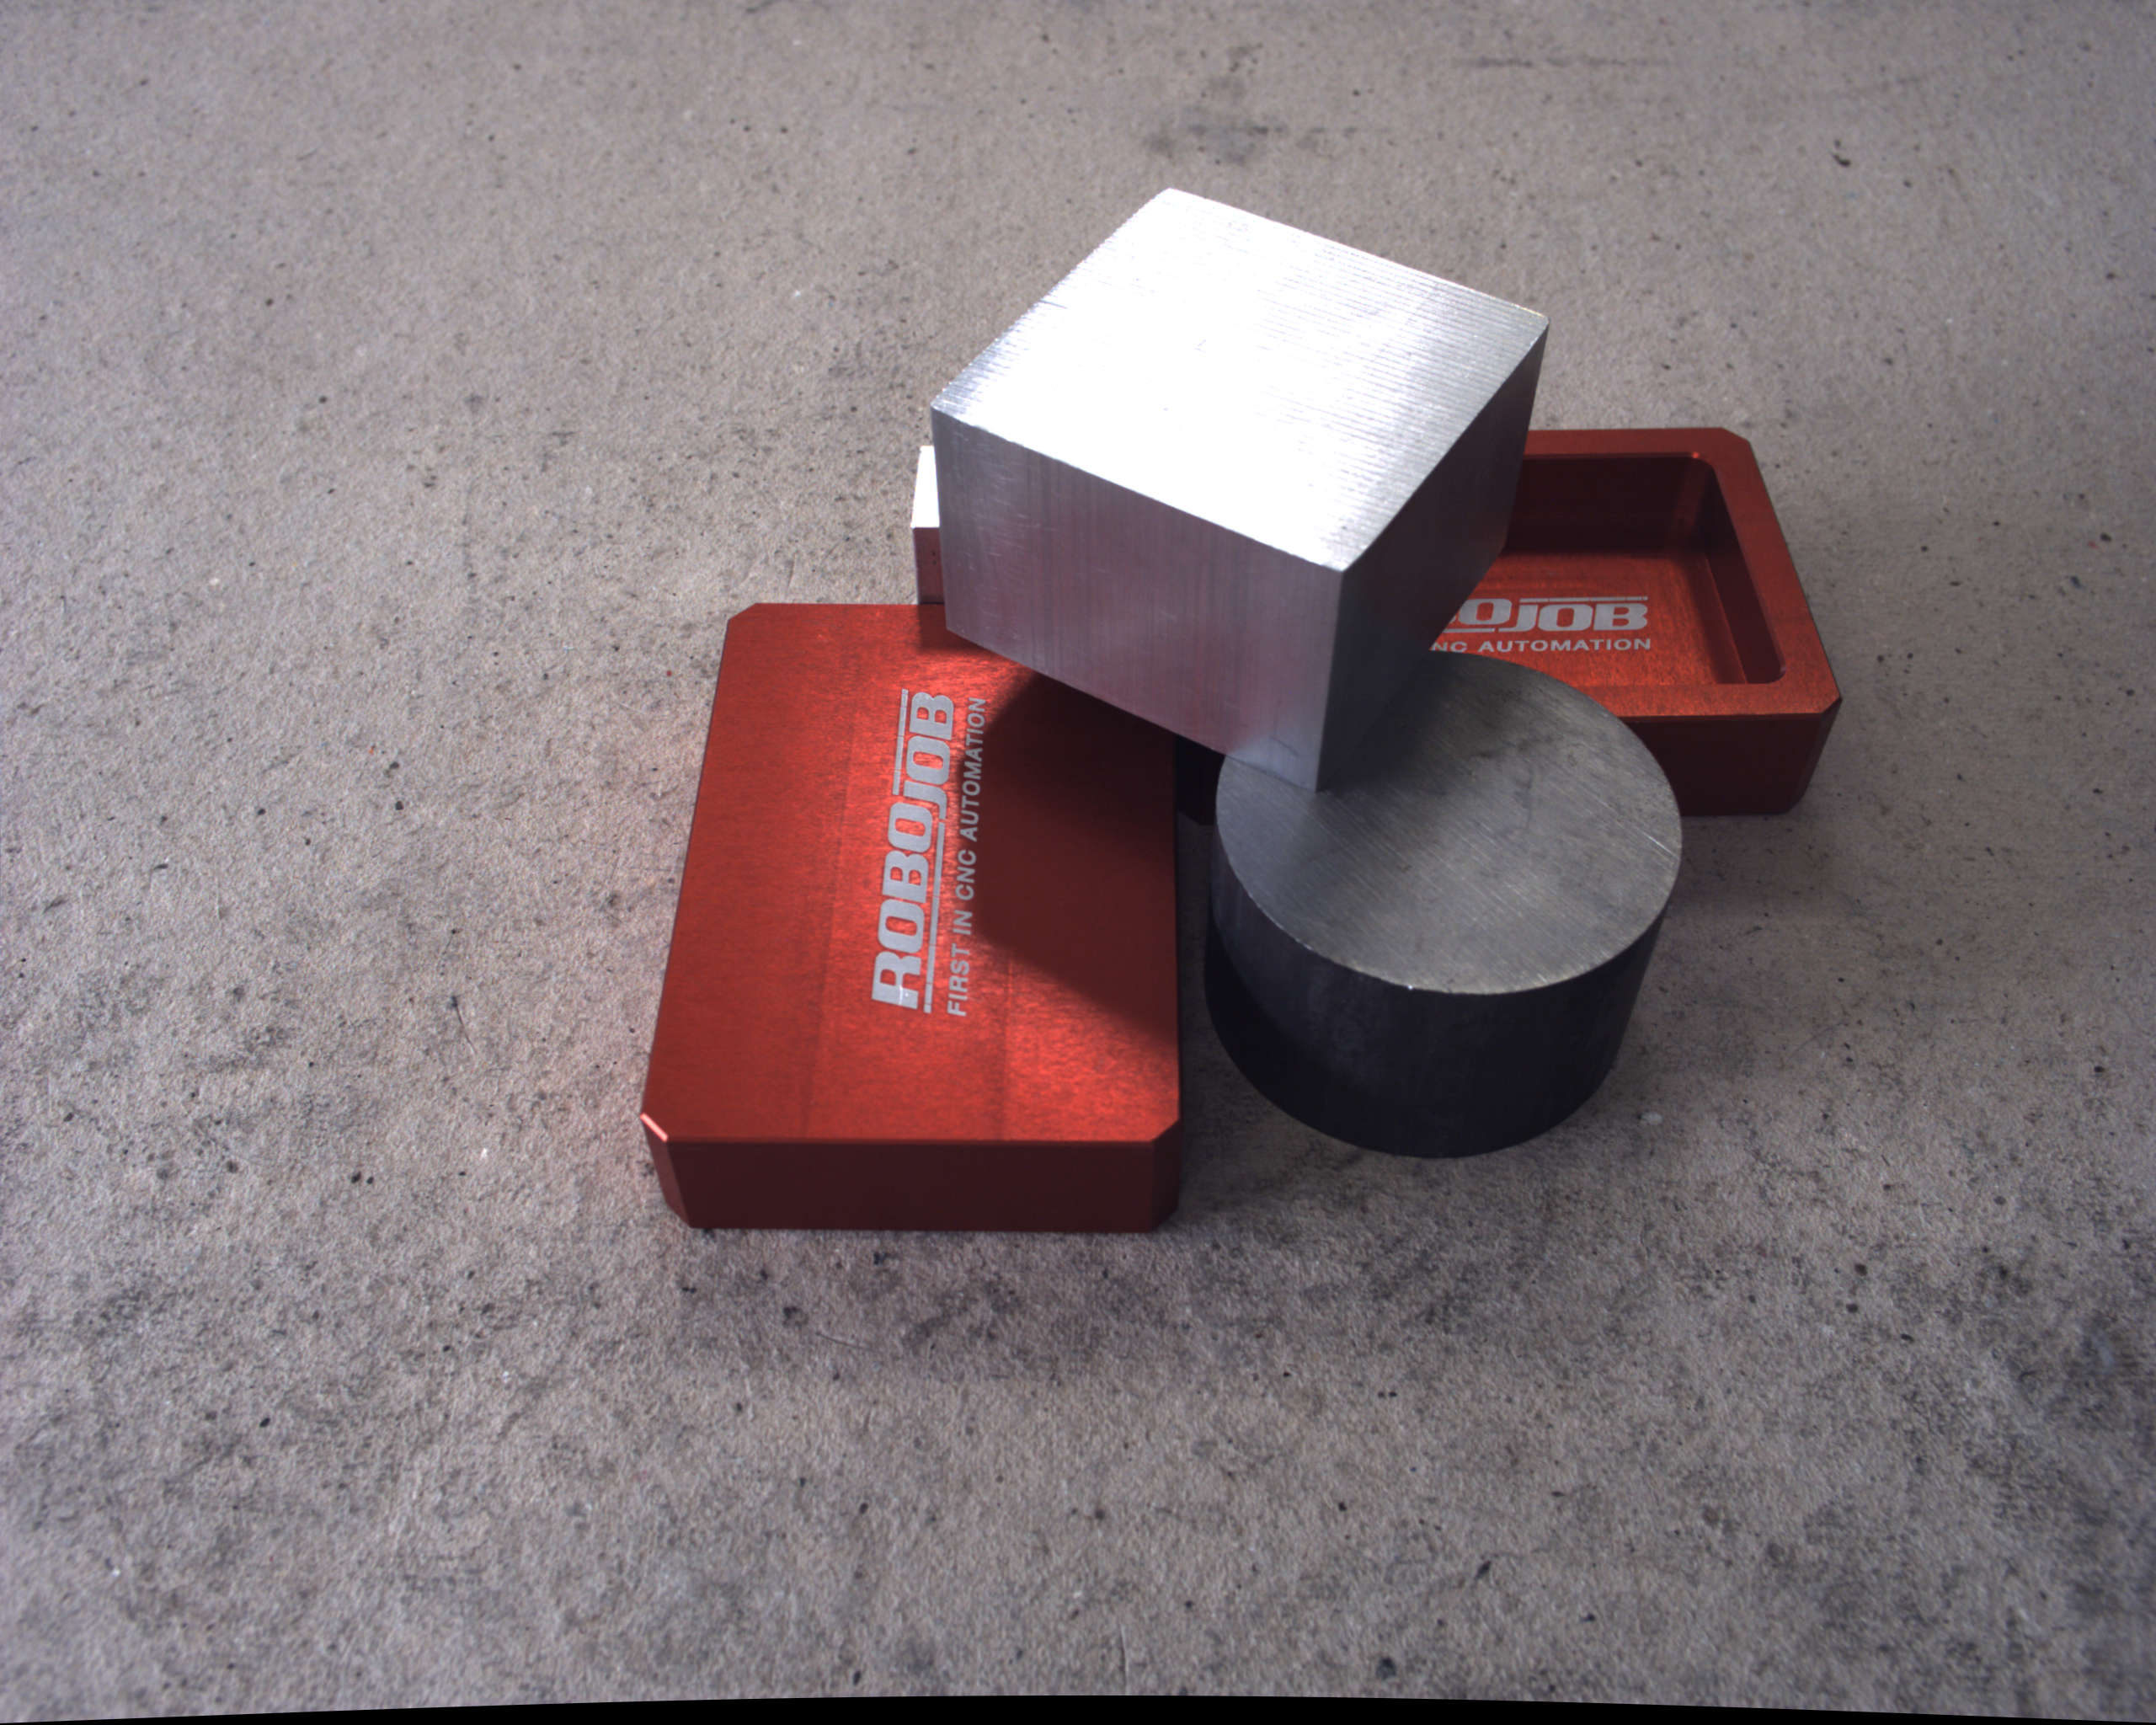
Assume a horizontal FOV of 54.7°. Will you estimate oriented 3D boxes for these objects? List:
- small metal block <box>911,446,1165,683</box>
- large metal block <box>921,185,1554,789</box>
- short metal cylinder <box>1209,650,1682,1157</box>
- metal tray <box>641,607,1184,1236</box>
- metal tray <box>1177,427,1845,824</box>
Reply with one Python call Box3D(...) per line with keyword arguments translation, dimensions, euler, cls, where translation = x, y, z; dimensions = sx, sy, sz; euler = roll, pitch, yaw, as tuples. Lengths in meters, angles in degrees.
Box3D(translation=(-0.008, -0.060, 0.439), dimensions=(0.050, 0.050, 0.025), euler=(1, 50, 0), cls="small metal block")
Box3D(translation=(0.029, -0.071, 0.382), dimensions=(0.080, 0.050, 0.080), euler=(26, 55, 20), cls="large metal block")
Box3D(translation=(0.065, 0.007, 0.383), dimensions=(0.080, 0.050, 0.080), euler=(0, 50, 0), cls="short metal cylinder")
Box3D(translation=(-0.027, 0.007, 0.397), dimensions=(0.091, 0.030, 0.130), euler=(1, 50, 0), cls="metal tray")
Box3D(translation=(0.085, -0.052, 0.446), dimensions=(0.131, 0.030, 0.090), euler=(-1, 50, -1), cls="metal tray")
